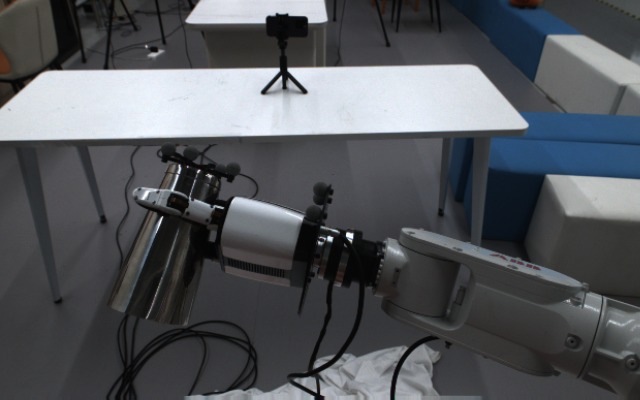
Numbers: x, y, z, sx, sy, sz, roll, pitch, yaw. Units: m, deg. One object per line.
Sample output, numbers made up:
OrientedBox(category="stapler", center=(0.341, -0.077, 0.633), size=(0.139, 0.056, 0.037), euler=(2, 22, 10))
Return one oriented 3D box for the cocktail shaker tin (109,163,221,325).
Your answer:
OrientedBox(category="cocktail shaker tin", center=(-0.168, 0.048, 0.563), size=(0.093, 0.093, 0.170), euler=(13, 79, 15))
